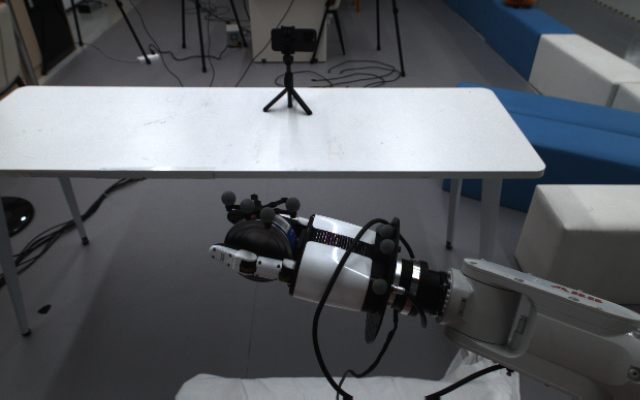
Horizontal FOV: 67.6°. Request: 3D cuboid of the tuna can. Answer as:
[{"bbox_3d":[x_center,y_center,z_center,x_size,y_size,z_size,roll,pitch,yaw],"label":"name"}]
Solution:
[{"bbox_3d":[-0.070,0.056,0.596,0.085,0.085,0.034,9,23,10],"label":"tuna can"}]
